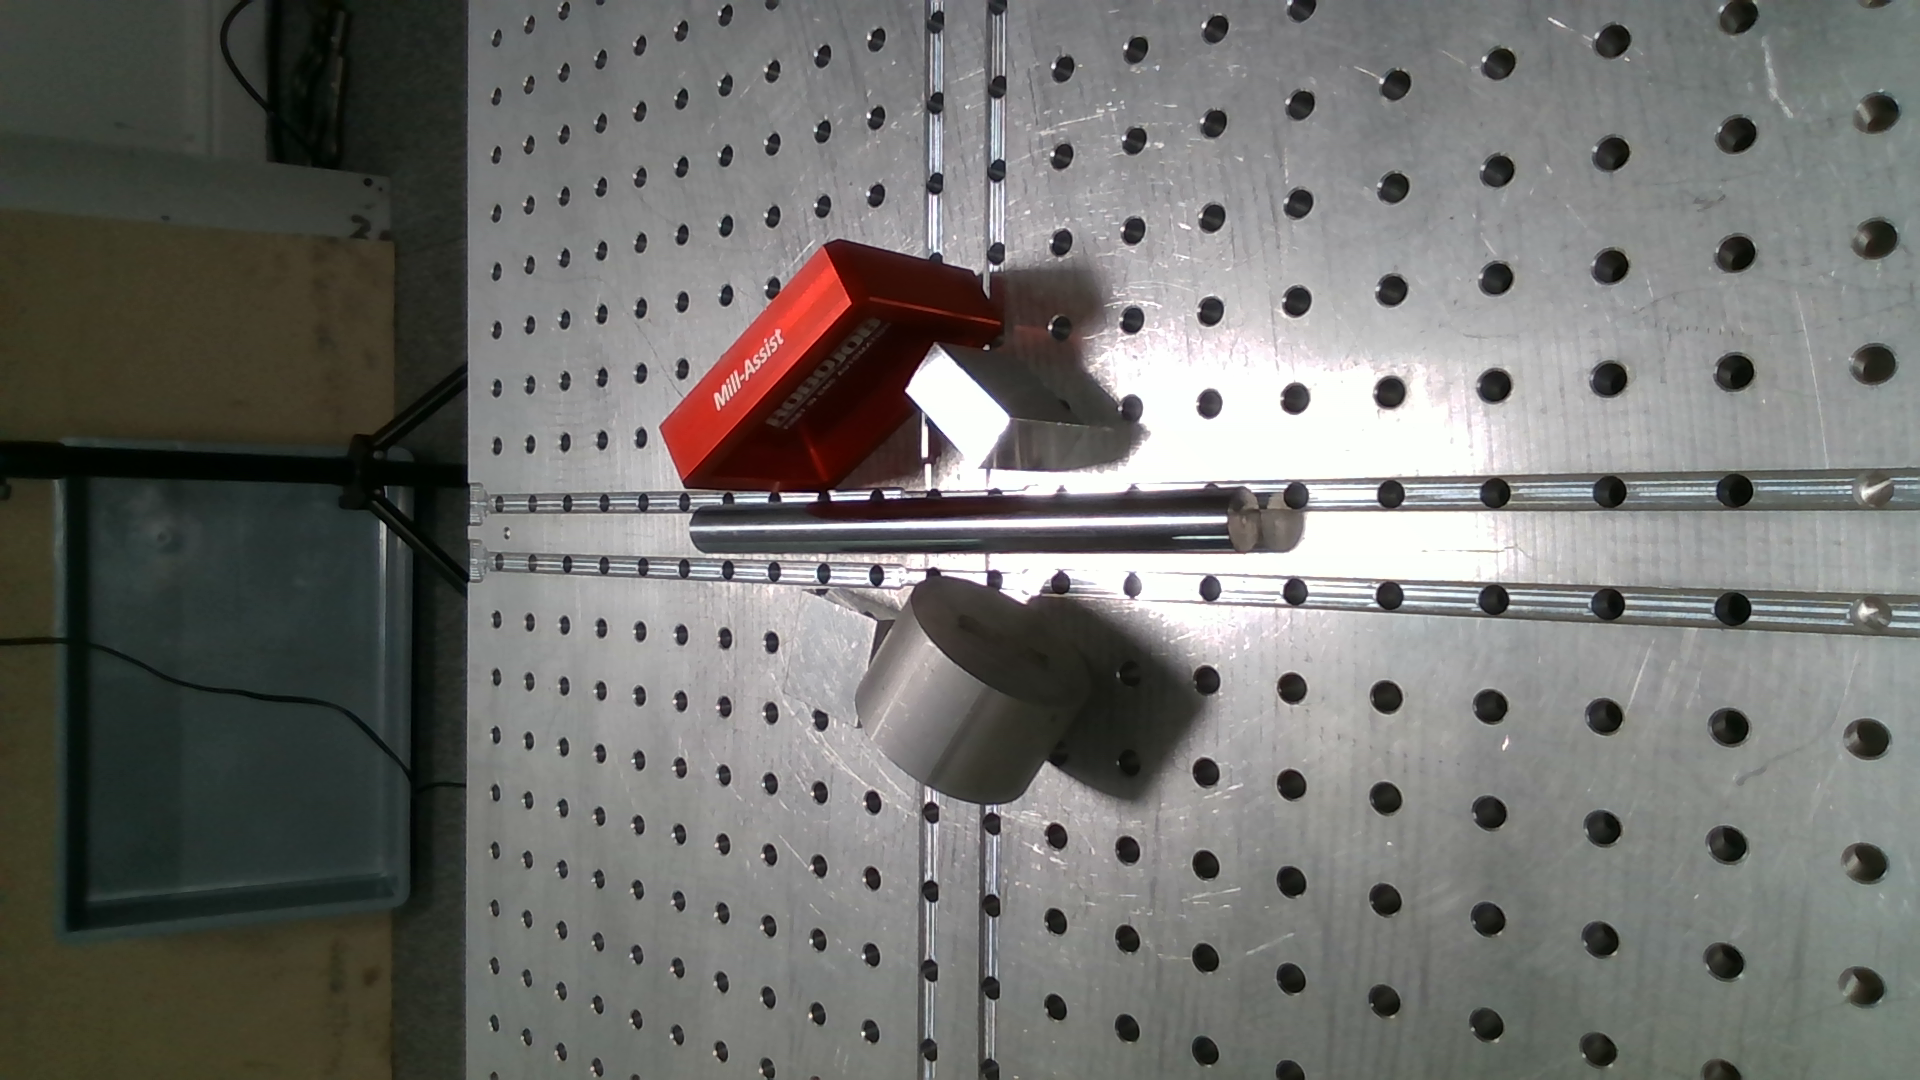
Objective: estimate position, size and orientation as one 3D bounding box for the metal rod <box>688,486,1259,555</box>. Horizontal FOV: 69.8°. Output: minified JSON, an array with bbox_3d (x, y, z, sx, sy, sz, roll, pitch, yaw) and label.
[{"bbox_3d":[-0.012,-0.006,0.595,0.300,0.025,0.025,0,90,40],"label":"metal rod"}]

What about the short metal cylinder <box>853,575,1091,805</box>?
[{"bbox_3d":[0.005,0.058,0.545,0.080,0.080,0.050,45,117,31],"label":"short metal cylinder"}]

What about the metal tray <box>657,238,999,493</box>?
[{"bbox_3d":[-0.057,-0.069,0.589,0.130,0.090,0.030,-40,66,33],"label":"metal tray"}]

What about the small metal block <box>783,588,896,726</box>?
[{"bbox_3d":[-0.051,0.053,0.629,0.050,0.025,0.050,19,103,38],"label":"small metal block"}]

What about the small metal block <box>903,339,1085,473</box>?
[{"bbox_3d":[0.014,-0.053,0.555,0.050,0.050,0.025,49,119,29],"label":"small metal block"}]
